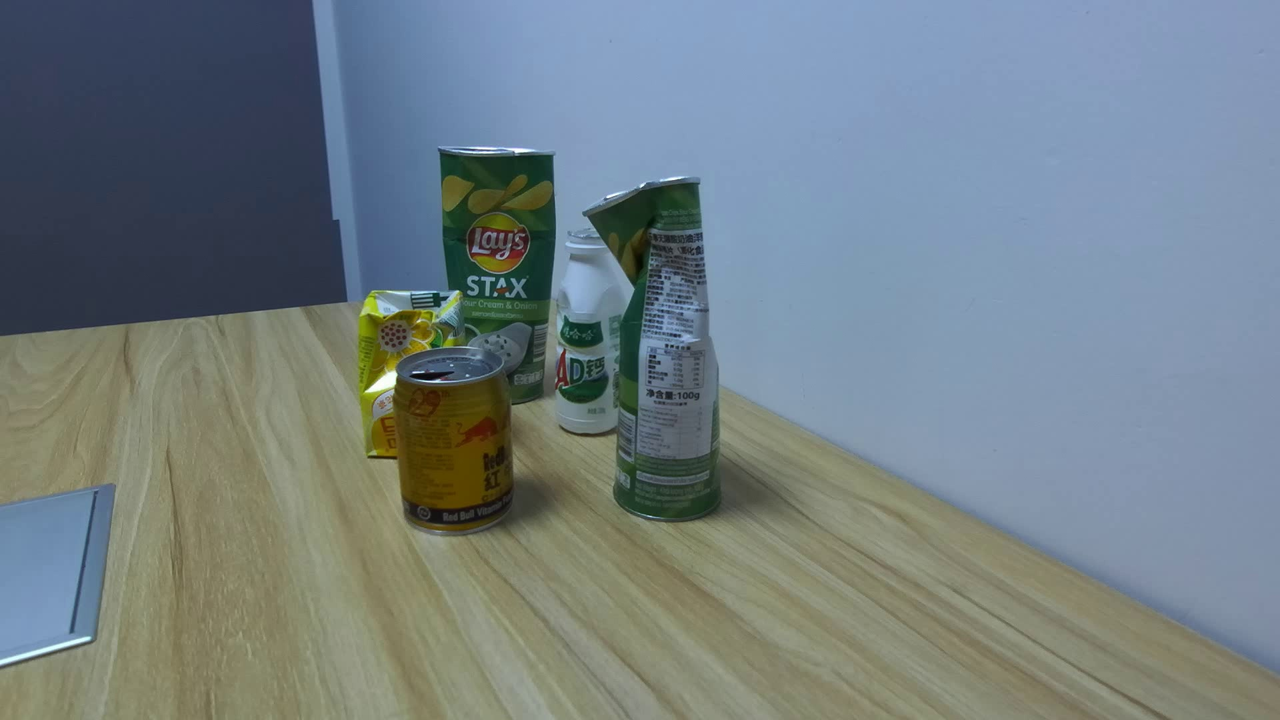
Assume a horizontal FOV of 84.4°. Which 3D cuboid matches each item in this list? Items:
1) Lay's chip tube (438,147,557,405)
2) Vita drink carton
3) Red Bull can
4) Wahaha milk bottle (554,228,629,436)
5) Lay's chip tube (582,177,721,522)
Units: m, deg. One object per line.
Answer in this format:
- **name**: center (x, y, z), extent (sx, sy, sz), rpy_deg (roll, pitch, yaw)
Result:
- **Lay's chip tube**: center (-0.113, -0.068, 0.577), extent (0.075, 0.199, 0.068), rpy_deg (-11, 22, -31)
- **Vita drink carton**: center (-0.157, 0.010, 0.491), extent (0.071, 0.109, 0.046), rpy_deg (1, 21, -2)
- **Red Bull can**: center (-0.109, 0.045, 0.415), extent (0.067, 0.093, 0.067), rpy_deg (2, 21, -1)
- **Wahaha milk bottle**: center (-0.036, -0.019, 0.519), extent (0.055, 0.149, 0.055), rpy_deg (0, 15, 0)
- **Lay's chip tube**: center (0.009, -0.005, 0.418), extent (0.071, 0.199, 0.079), rpy_deg (-5, 17, 3)
